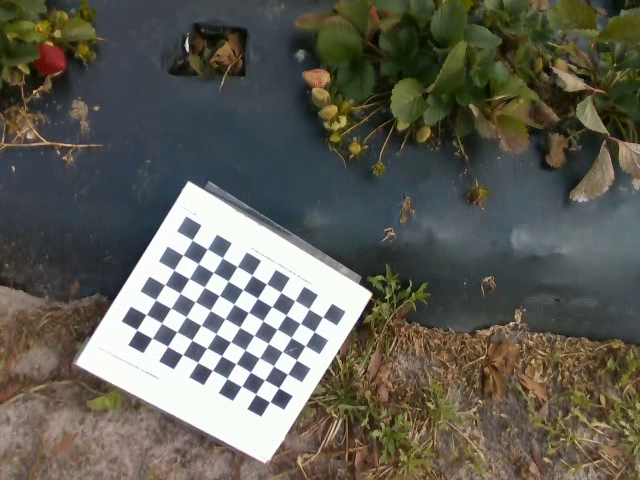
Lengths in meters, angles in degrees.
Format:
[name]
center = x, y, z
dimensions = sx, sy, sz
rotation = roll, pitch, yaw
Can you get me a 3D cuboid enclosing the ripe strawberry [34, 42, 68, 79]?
[ripe strawberry]
center = -0.353, -0.236, 0.858
dimensions = 0.046, 0.043, 0.046
rotation = 28, -4, 19
